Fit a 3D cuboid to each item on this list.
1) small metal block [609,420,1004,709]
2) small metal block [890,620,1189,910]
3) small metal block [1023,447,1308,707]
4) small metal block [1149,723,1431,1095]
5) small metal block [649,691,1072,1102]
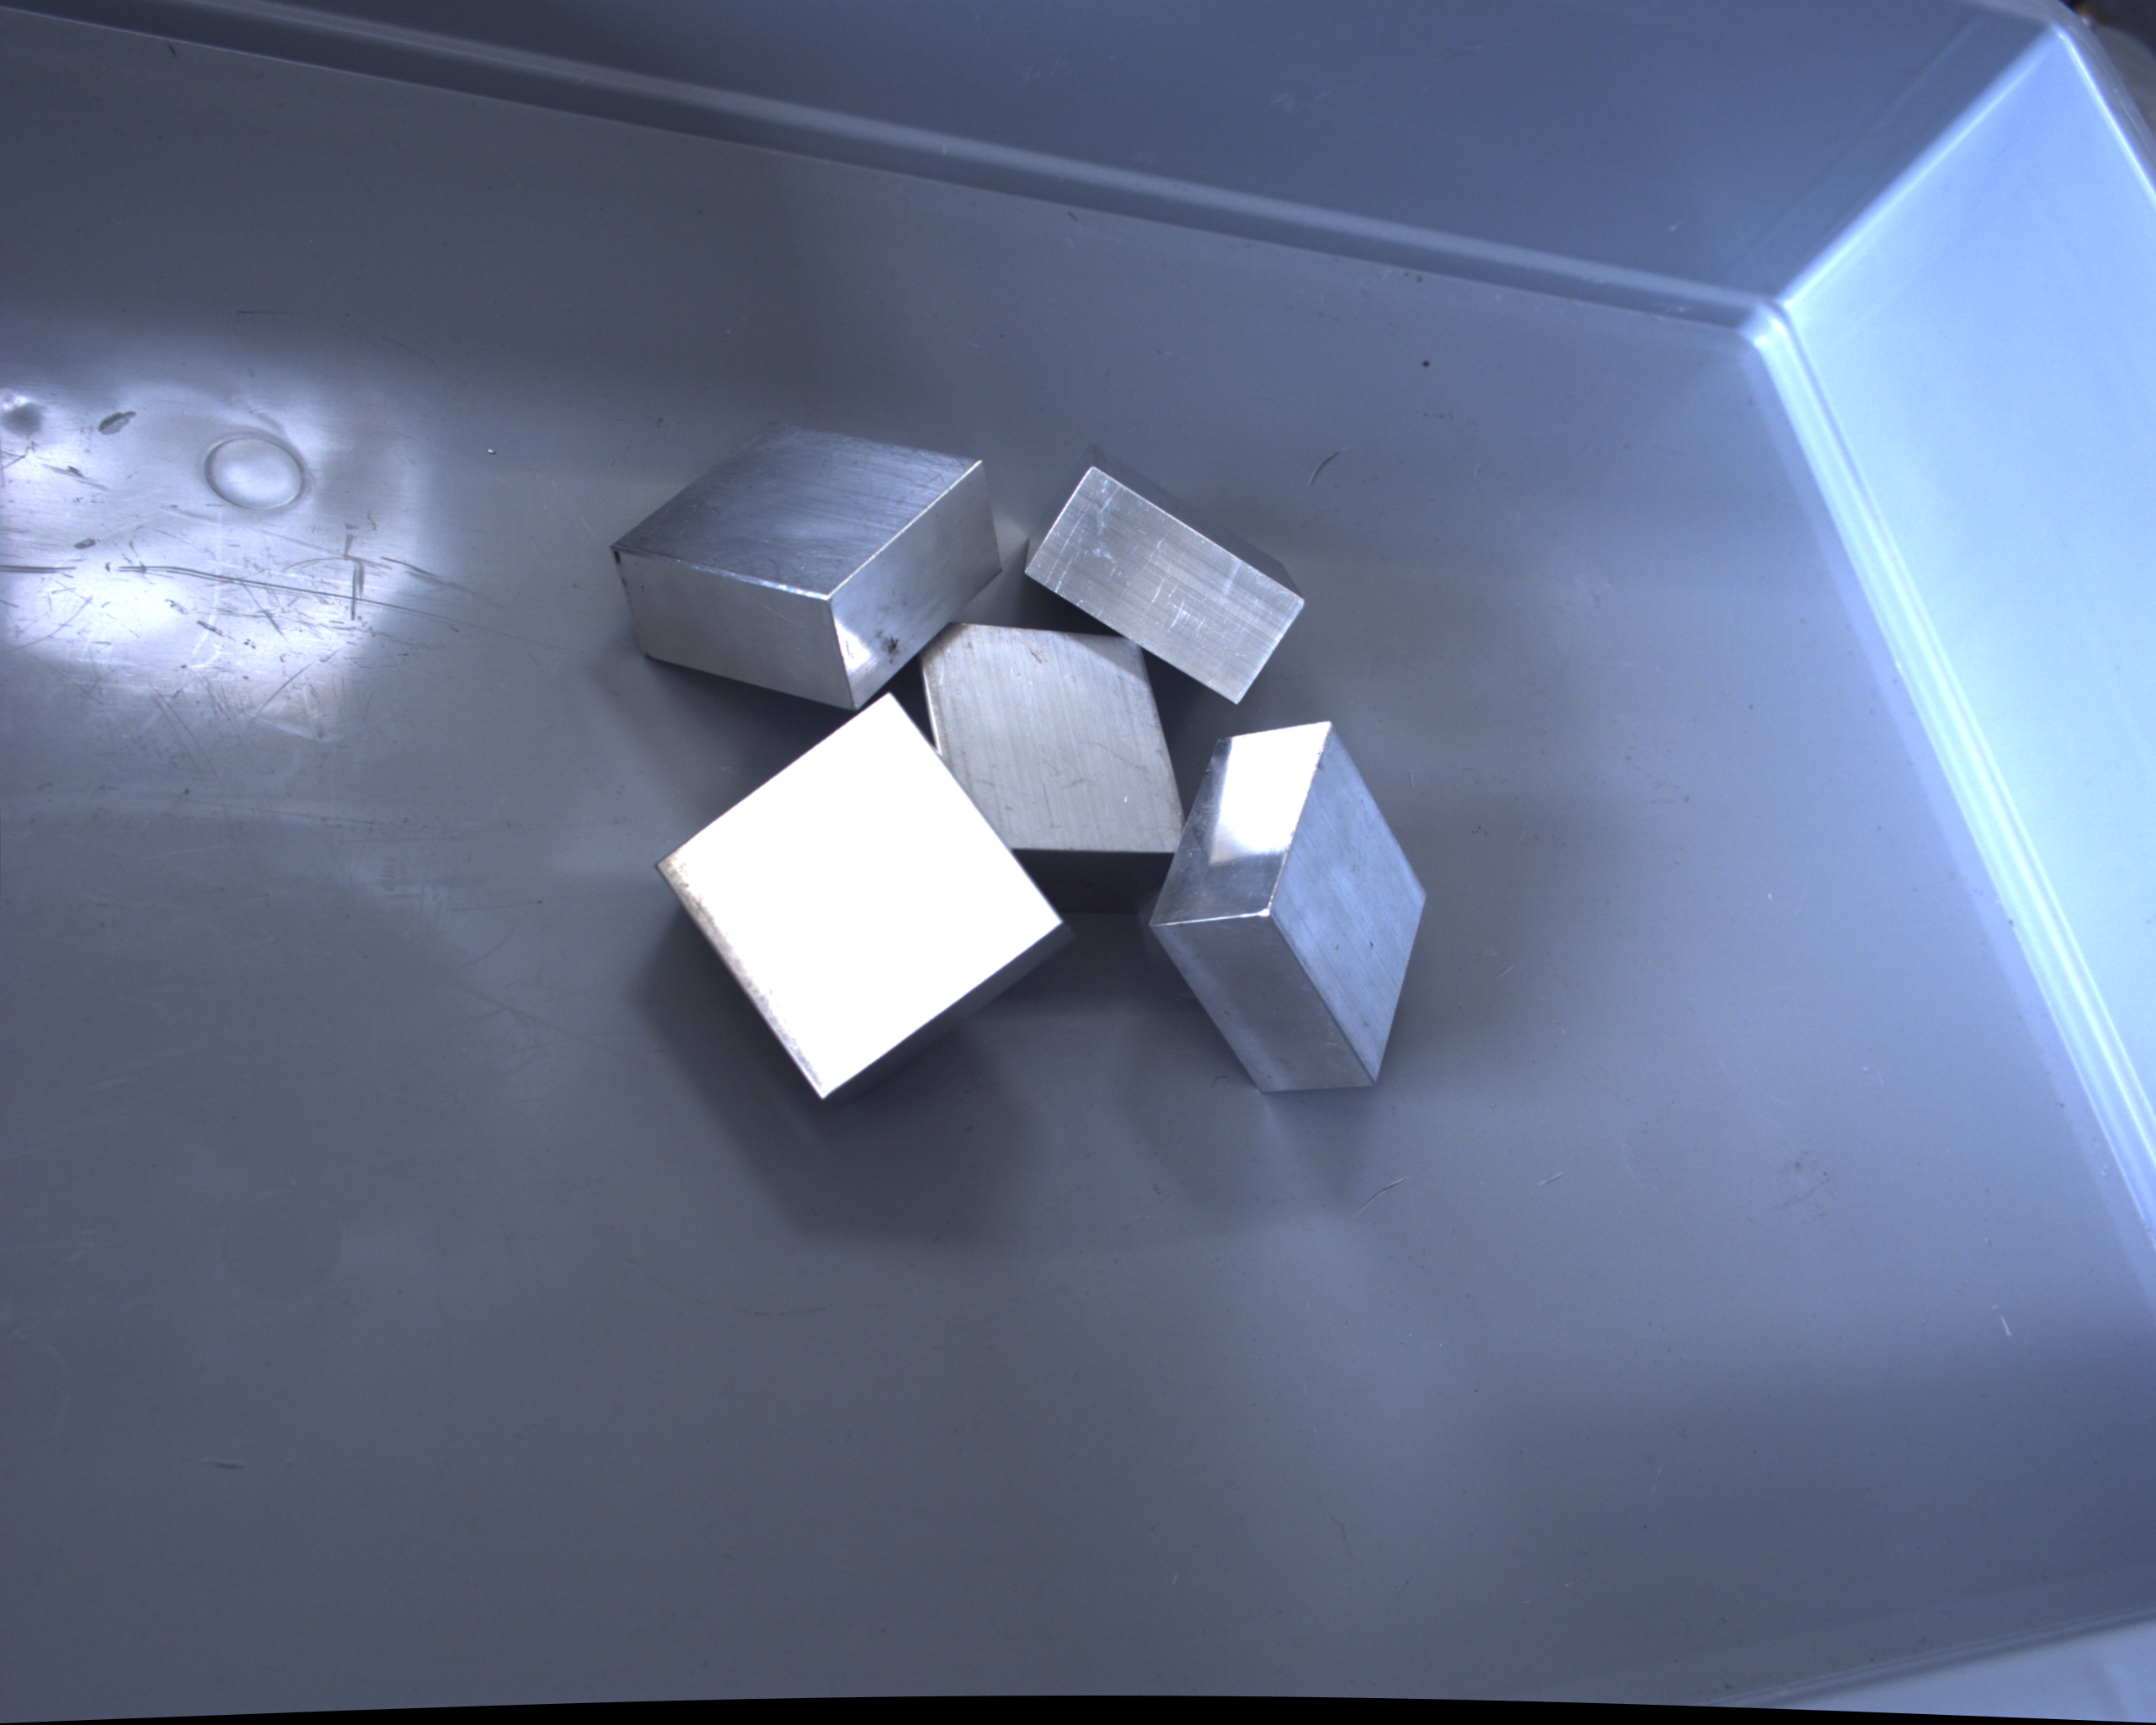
[{"bbox_3d":[-0.050,-0.057,0.395,0.050,0.025,0.050,15,45,27],"label":"small metal block"},{"bbox_3d":[-0.010,-0.019,0.408,0.050,0.025,0.050,2,61,-28],"label":"small metal block"},{"bbox_3d":[0.017,-0.061,0.434,0.050,0.025,0.050,31,15,-9],"label":"small metal block"},{"bbox_3d":[0.043,0.010,0.406,0.050,0.025,0.050,55,42,-35],"label":"small metal block"},{"bbox_3d":[-0.037,0.007,0.364,0.050,0.025,0.050,-36,81,-1],"label":"small metal block"}]
